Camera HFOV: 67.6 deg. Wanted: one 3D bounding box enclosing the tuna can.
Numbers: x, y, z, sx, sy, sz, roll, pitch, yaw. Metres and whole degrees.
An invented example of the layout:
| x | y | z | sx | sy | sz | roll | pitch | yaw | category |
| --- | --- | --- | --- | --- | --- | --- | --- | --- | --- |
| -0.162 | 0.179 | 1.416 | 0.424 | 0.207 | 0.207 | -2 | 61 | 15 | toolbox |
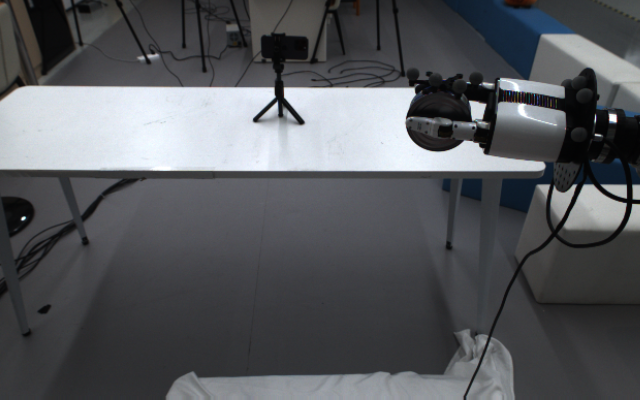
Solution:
| x | y | z | sx | sy | sz | roll | pitch | yaw | category |
| --- | --- | --- | --- | --- | --- | --- | --- | --- | --- |
| 0.162 | -0.115 | 0.657 | 0.085 | 0.085 | 0.034 | 10 | 35 | 11 | tuna can |
